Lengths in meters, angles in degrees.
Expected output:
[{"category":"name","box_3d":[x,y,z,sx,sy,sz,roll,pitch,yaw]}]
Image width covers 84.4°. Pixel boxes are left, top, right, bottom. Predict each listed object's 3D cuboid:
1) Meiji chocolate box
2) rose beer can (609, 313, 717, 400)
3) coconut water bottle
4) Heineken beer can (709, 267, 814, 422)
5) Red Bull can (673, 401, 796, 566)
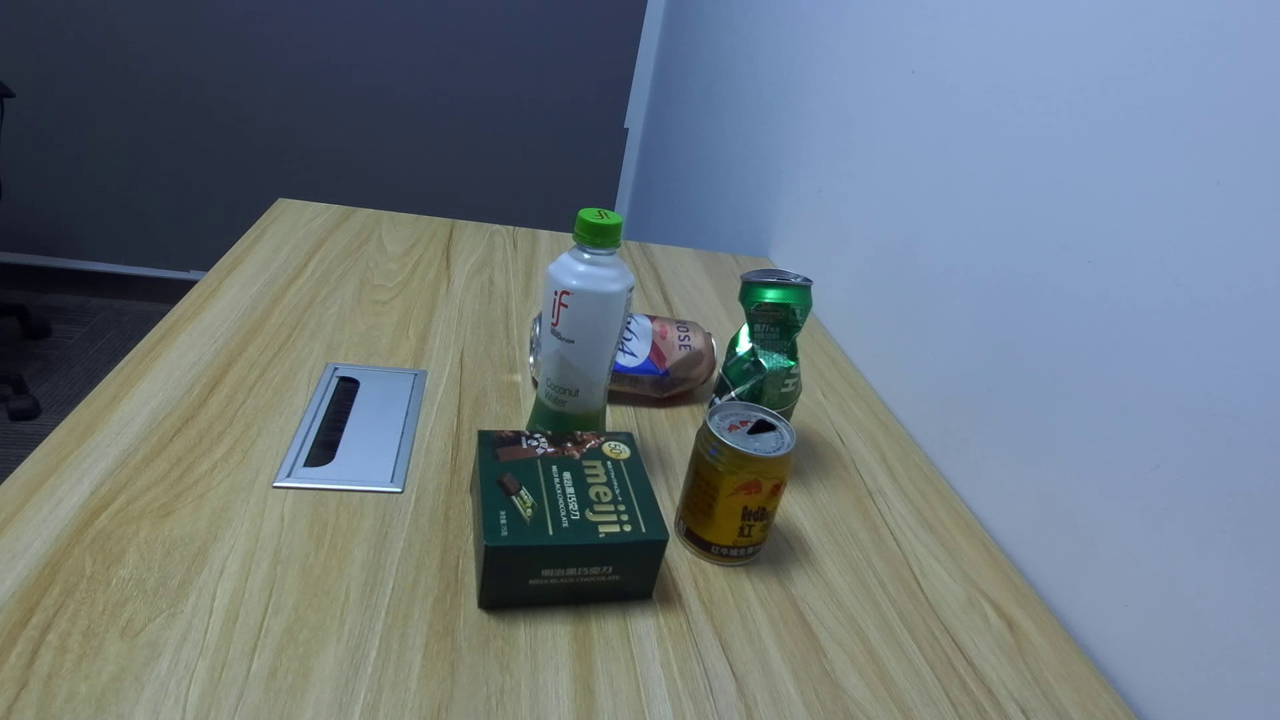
[{"category":"Meiji chocolate box","box_3d":[-0.050,0.097,0.450,0.109,0.056,0.109,3,30,-17]},{"category":"rose beer can","box_3d":[-0.016,-0.008,0.640,0.168,0.069,0.069,1,14,-19]},{"category":"coconut water bottle","box_3d":[-0.042,-0.012,0.504,0.063,0.188,0.063,9,27,-4]},{"category":"Heineken beer can","box_3d":[0.095,0.010,0.554,0.067,0.159,0.078,-6,26,-37]},{"category":"Red Bull can","box_3d":[0.064,0.082,0.475,0.069,0.092,0.069,9,29,-4]}]
